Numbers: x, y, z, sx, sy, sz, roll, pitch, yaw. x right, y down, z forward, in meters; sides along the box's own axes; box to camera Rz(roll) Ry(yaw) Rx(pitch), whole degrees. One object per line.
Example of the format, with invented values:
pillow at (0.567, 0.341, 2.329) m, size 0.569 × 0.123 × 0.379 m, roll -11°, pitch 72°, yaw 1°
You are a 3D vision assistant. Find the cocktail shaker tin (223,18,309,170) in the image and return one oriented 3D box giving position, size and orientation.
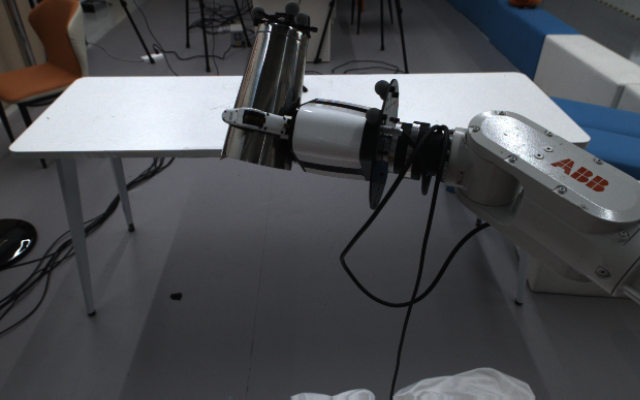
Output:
cocktail shaker tin at (-0.065, -0.132, 0.621) m, size 0.093 × 0.170 × 0.093 m, roll 12°, pitch 5°, yaw -1°
